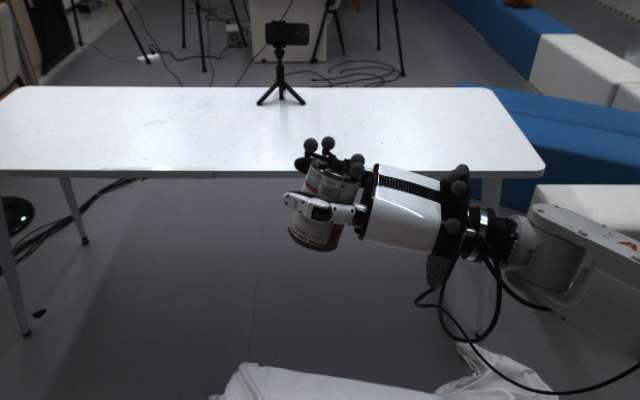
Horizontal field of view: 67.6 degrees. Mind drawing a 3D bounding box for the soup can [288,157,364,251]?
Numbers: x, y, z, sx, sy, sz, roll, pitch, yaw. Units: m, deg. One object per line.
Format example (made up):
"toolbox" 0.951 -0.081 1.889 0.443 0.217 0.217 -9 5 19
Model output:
"soup can" 0.007 0.005 0.609 0.067 0.101 0.067 16 22 -7
